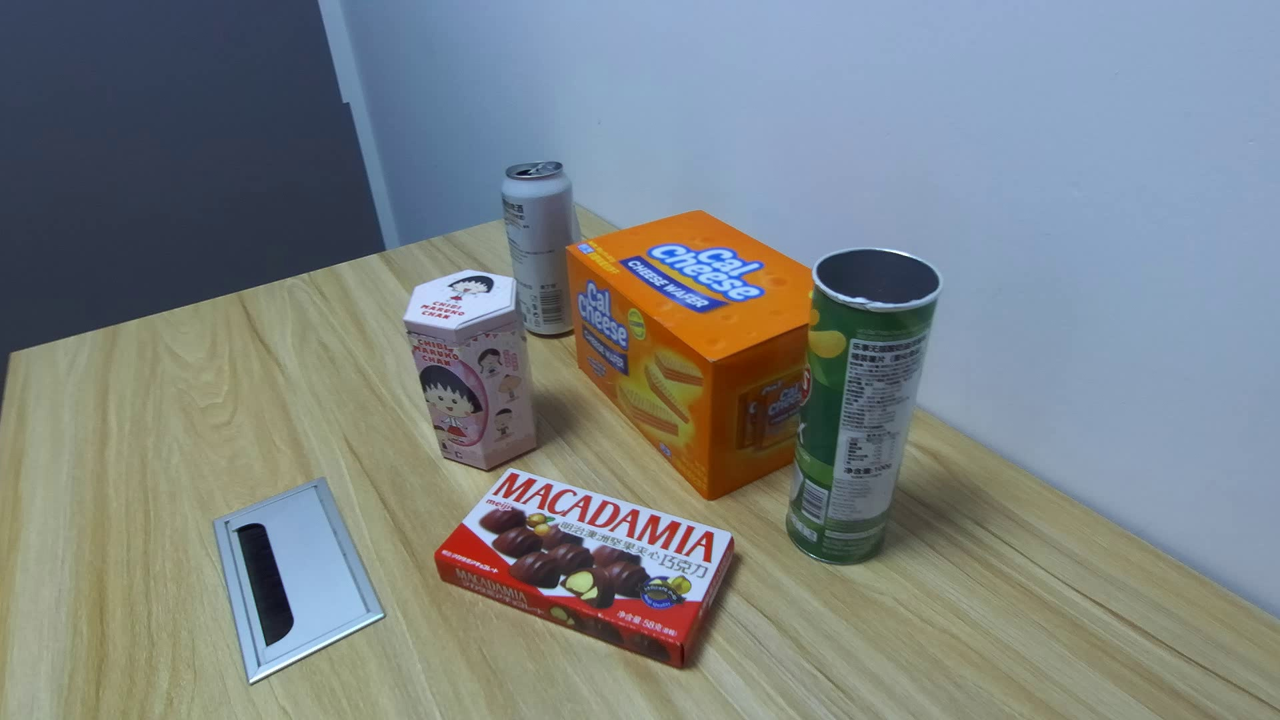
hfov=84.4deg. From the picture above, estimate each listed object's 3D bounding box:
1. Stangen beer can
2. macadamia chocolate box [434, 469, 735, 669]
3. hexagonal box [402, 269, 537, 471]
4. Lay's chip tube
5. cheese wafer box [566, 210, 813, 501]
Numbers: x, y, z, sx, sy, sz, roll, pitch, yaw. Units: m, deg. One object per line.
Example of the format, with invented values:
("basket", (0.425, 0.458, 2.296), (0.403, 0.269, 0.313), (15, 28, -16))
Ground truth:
("Stangen beer can", (-0.094, -0.111, 0.703), (0.070, 0.173, 0.070), (24, 40, 36))
("macadamia chocolate box", (-0.036, 0.132, 0.473), (0.177, 0.027, 0.096), (13, 36, 21))
("hexagonal box", (-0.129, 0.010, 0.560), (0.091, 0.136, 0.084), (12, 36, 21))
("Lay's chip tube", (0.133, 0.035, 0.436), (0.071, 0.203, 0.071), (-2, 35, 2))
("cheese wafer box", (0.055, -0.018, 0.595), (0.149, 0.129, 0.221), (-21, 38, -24))
